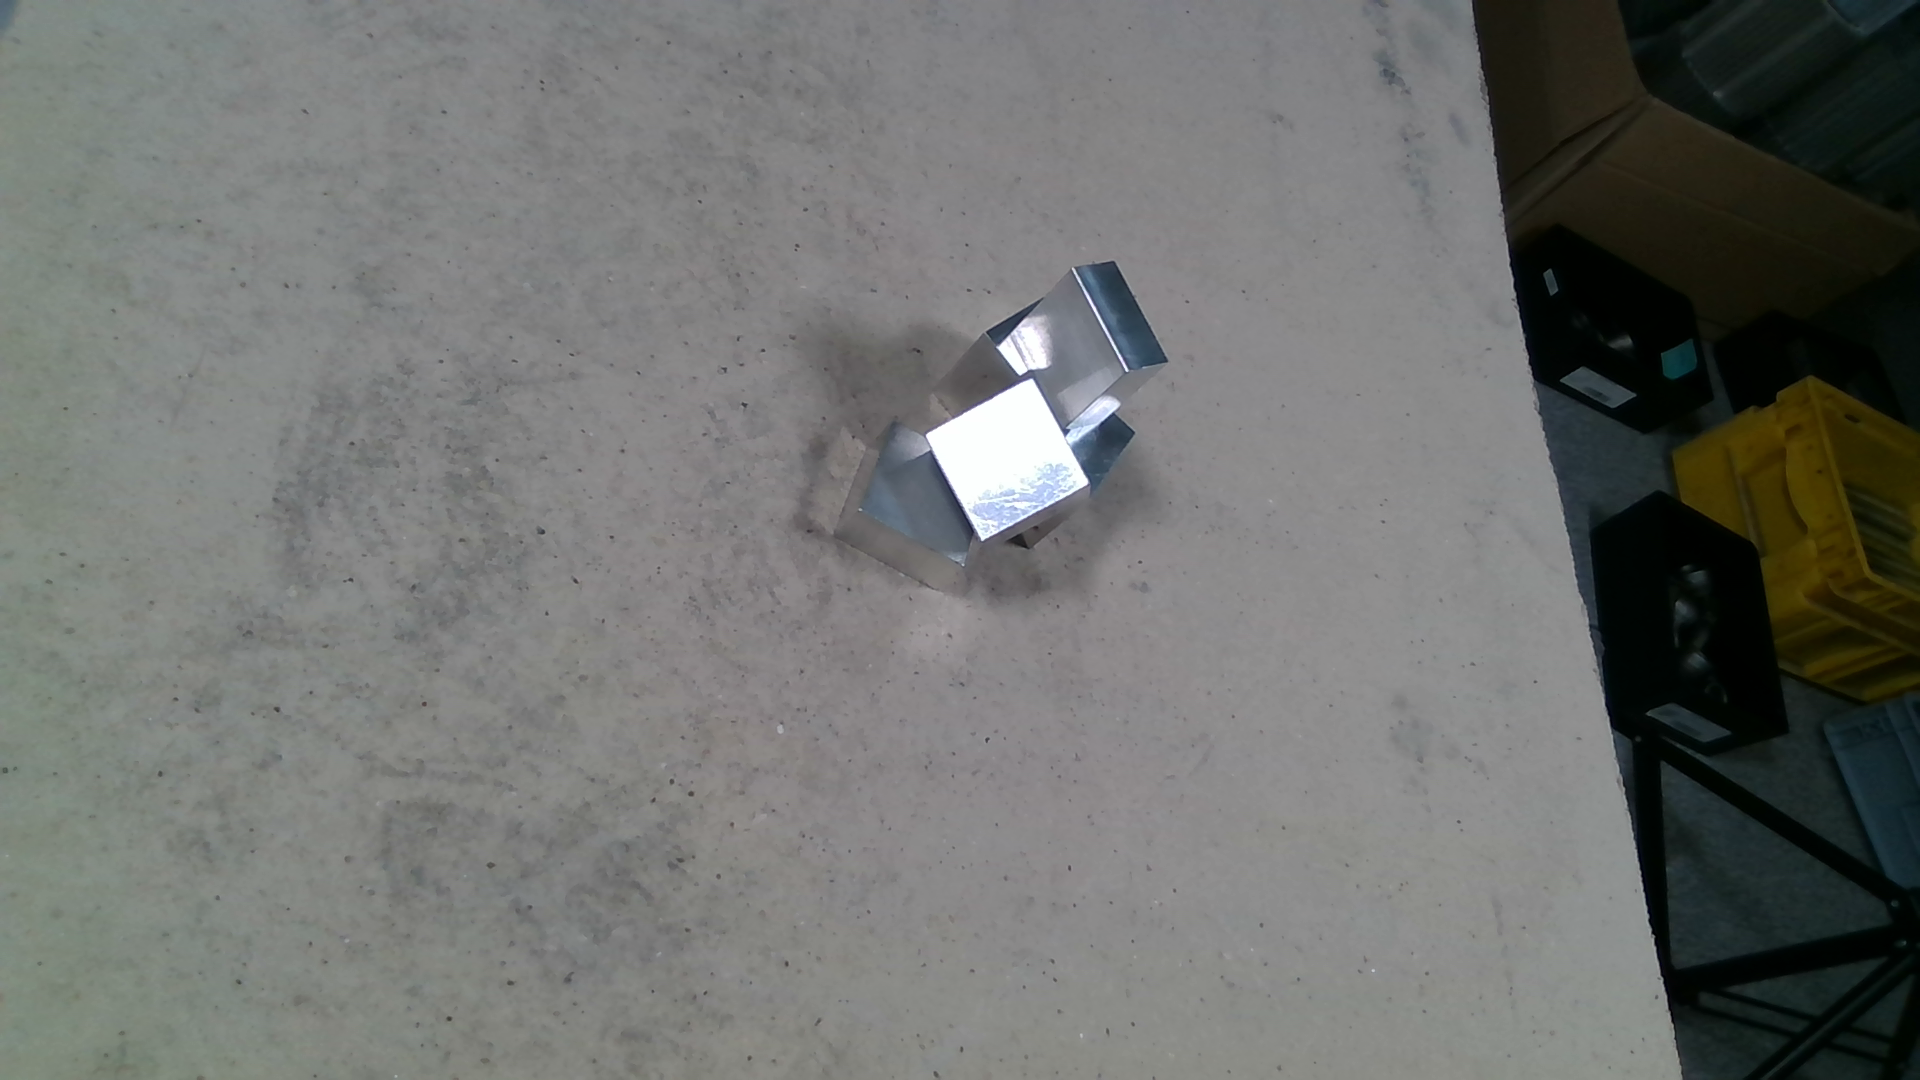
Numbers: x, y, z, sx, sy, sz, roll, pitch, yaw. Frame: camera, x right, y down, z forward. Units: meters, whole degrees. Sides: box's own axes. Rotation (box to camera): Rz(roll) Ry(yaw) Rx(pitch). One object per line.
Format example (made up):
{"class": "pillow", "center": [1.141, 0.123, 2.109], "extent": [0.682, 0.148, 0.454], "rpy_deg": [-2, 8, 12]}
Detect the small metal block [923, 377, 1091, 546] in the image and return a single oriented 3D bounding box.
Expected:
{"class": "small metal block", "center": [0.020, -0.031, 0.567], "extent": [0.050, 0.025, 0.050], "rpy_deg": [-28, 79, -1]}

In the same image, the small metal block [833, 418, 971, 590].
{"class": "small metal block", "center": [-0.020, -0.015, 0.582], "extent": [0.050, 0.025, 0.050], "rpy_deg": [28, 54, -16]}

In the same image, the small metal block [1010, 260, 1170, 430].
{"class": "small metal block", "center": [0.054, -0.082, 0.583], "extent": [0.025, 0.050, 0.050], "rpy_deg": [-17, 75, -37]}

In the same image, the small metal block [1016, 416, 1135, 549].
{"class": "small metal block", "center": [0.045, -0.030, 0.615], "extent": [0.025, 0.050, 0.050], "rpy_deg": [41, 51, -6]}

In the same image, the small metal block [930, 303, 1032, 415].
{"class": "small metal block", "center": [0.022, -0.081, 0.628], "extent": [0.050, 0.050, 0.025], "rpy_deg": [-36, 87, -39]}
